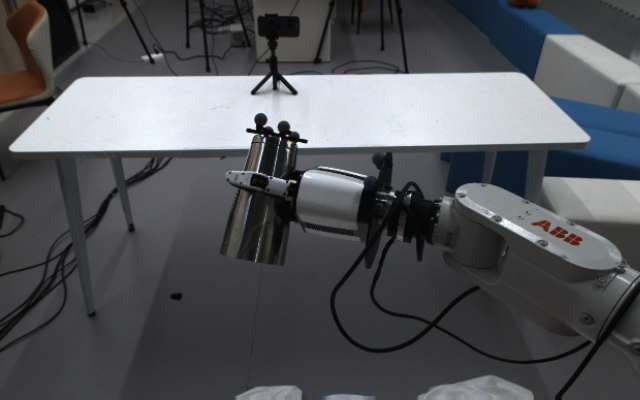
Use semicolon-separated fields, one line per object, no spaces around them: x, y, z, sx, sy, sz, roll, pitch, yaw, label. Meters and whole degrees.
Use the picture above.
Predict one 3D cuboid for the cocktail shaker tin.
-0.078;0.000;0.679;0.093;0.170;0.093;11;-5;1;cocktail shaker tin
